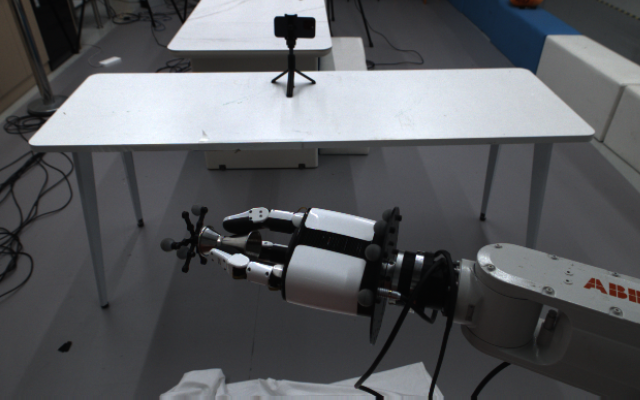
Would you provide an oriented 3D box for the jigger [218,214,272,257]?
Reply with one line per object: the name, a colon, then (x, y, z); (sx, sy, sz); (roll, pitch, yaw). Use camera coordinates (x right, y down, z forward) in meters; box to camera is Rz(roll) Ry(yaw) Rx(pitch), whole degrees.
jigger: (-0.104, 0.049, 0.606); (0.071, 0.043, 0.043); (5, 34, 20)
